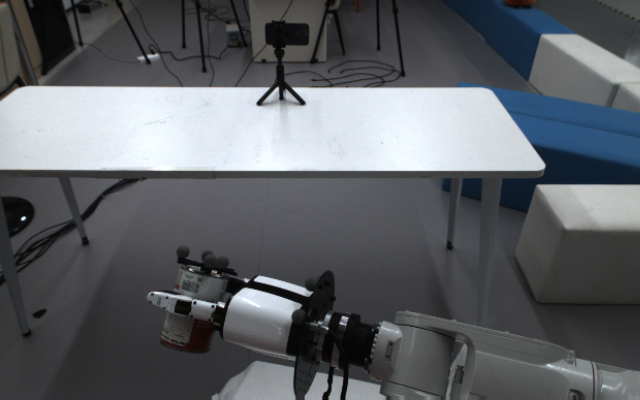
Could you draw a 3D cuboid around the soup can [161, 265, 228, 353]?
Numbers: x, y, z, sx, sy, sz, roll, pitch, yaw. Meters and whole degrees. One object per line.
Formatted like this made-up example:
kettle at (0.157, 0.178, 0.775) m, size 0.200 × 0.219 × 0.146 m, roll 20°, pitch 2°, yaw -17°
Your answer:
soup can at (-0.163, 0.143, 0.637) m, size 0.067 × 0.101 × 0.067 m, roll 13°, pitch -6°, yaw 1°
